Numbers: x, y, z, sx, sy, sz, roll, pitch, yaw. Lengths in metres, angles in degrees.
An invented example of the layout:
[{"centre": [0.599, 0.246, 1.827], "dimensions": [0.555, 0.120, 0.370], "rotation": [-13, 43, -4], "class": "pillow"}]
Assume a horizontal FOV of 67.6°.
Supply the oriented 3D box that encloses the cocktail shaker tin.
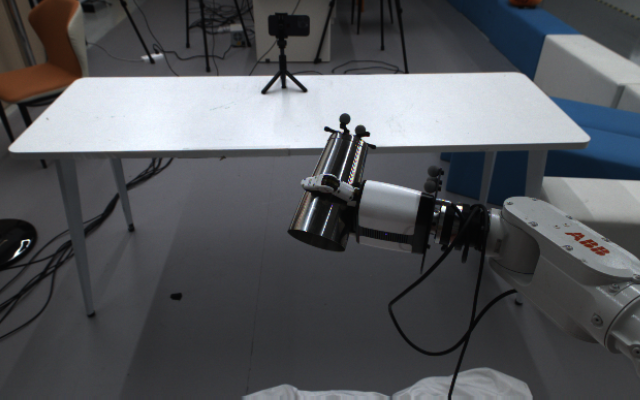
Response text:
[{"centre": [0.019, -0.015, 0.750], "dimensions": [0.093, 0.093, 0.170], "rotation": [14, 73, 17], "class": "cocktail shaker tin"}]
